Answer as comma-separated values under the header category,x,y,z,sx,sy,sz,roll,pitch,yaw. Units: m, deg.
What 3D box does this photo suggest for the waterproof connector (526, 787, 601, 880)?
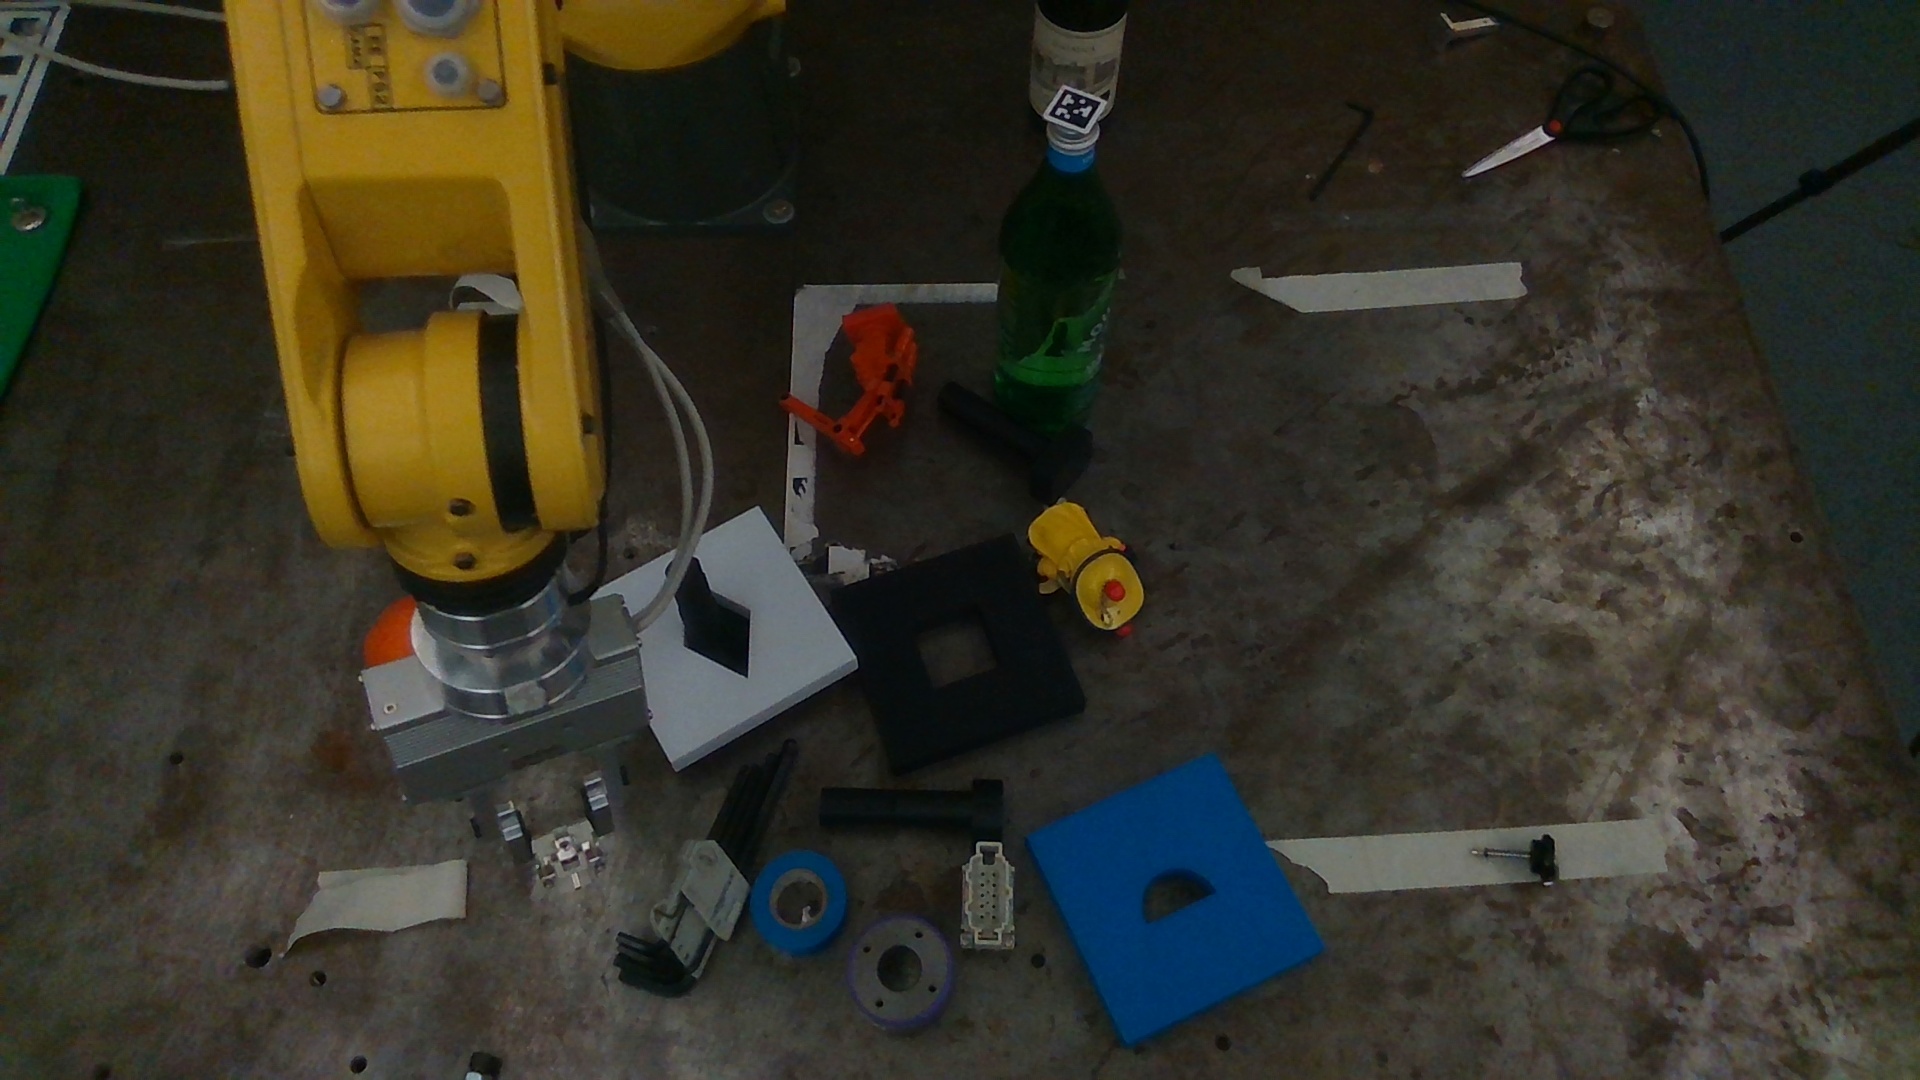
category,x,y,z,sx,sy,sz,roll,pitch,yaw
waterproof connector,-0.234,0.174,0.821,0.036,0.069,0.038,-20,101,-17
